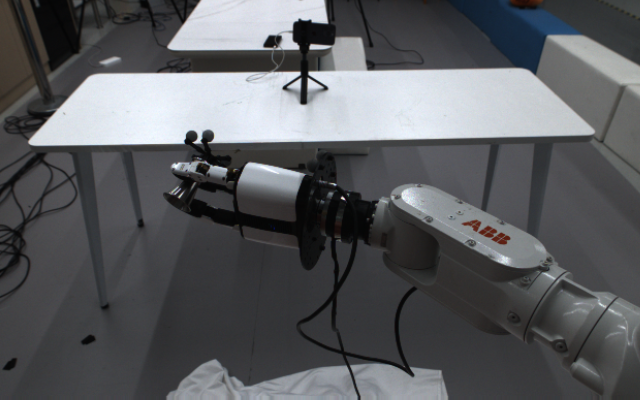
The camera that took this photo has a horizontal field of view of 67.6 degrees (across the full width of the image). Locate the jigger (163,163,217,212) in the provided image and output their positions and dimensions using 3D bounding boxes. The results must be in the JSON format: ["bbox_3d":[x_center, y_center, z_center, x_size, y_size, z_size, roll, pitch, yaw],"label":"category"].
[{"bbox_3d":[-0.184,-0.026,0.680,0.043,0.043,0.071,19,62,23],"label":"jigger"}]
